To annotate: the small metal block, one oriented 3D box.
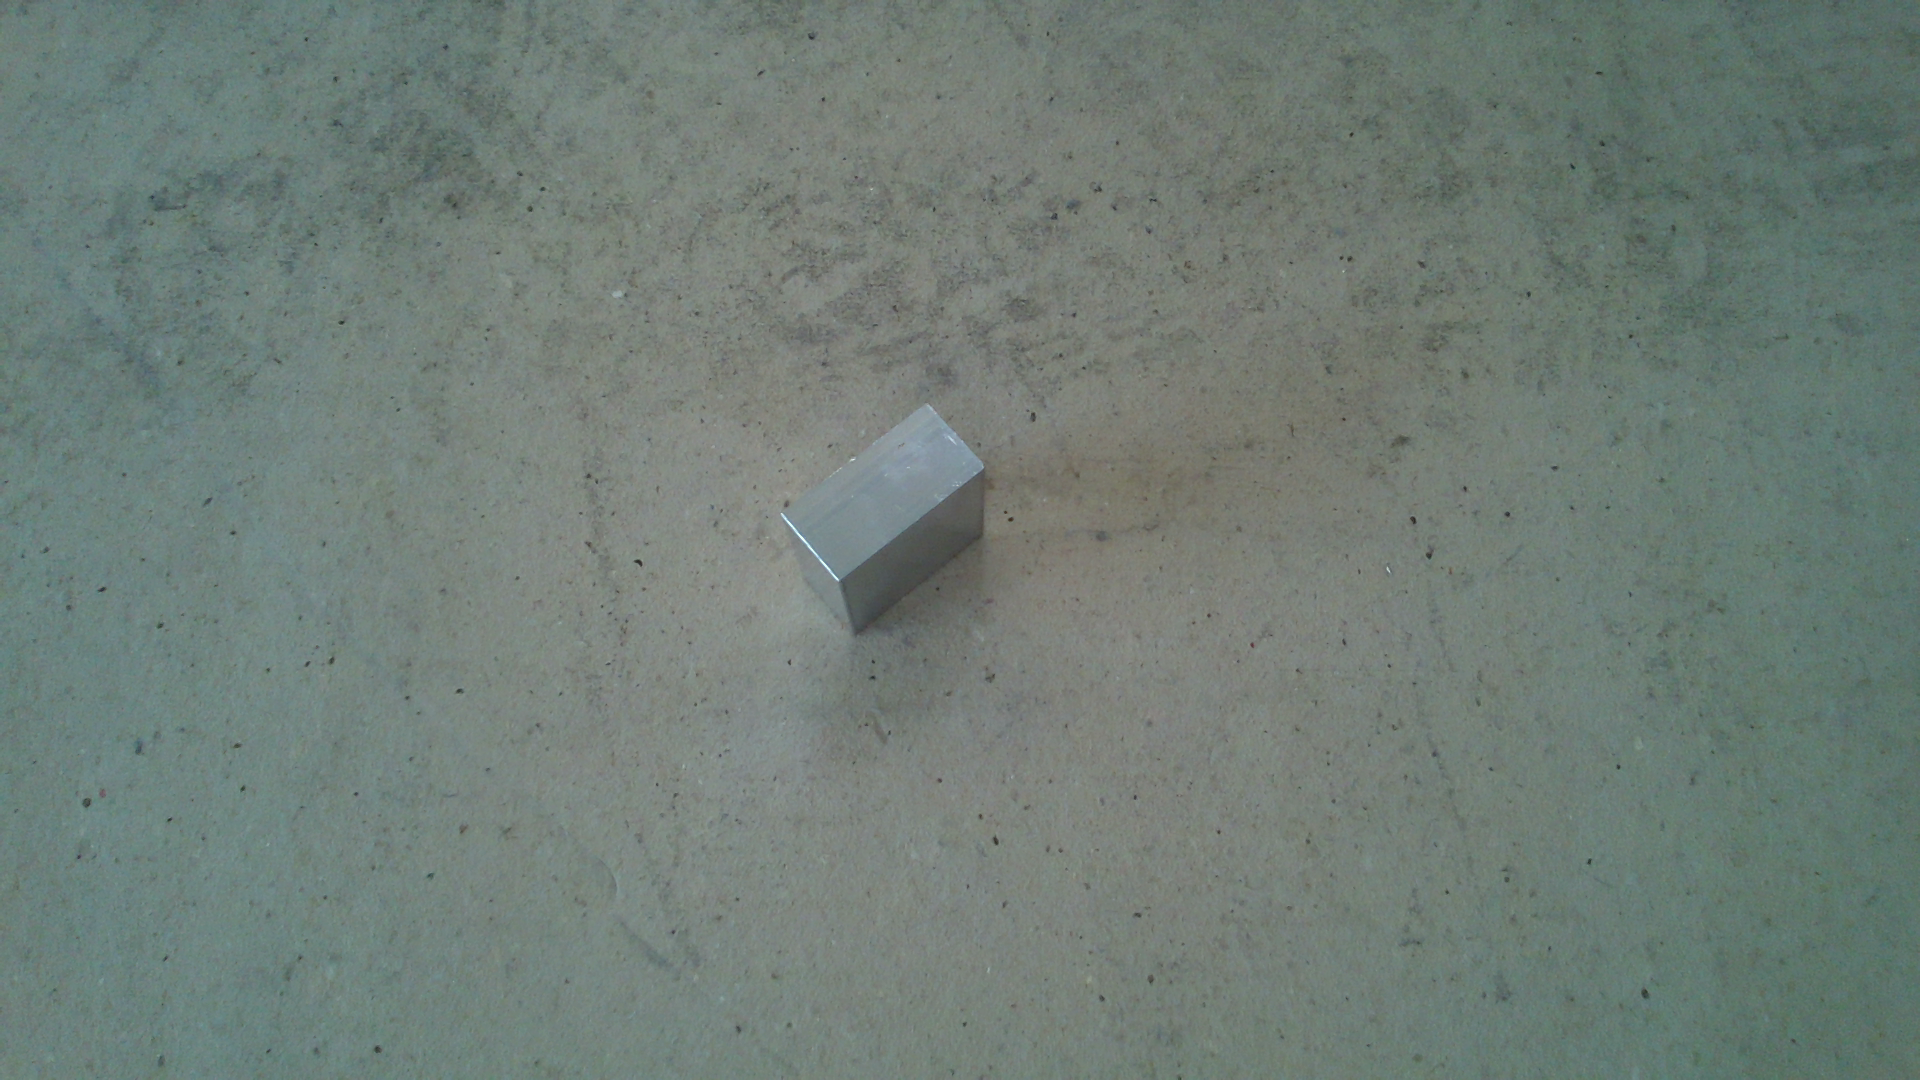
[{"bbox_3d":[-0.020,-0.005,0.383,0.050,0.050,0.025,-38,74,-13],"label":"small metal block"}]
